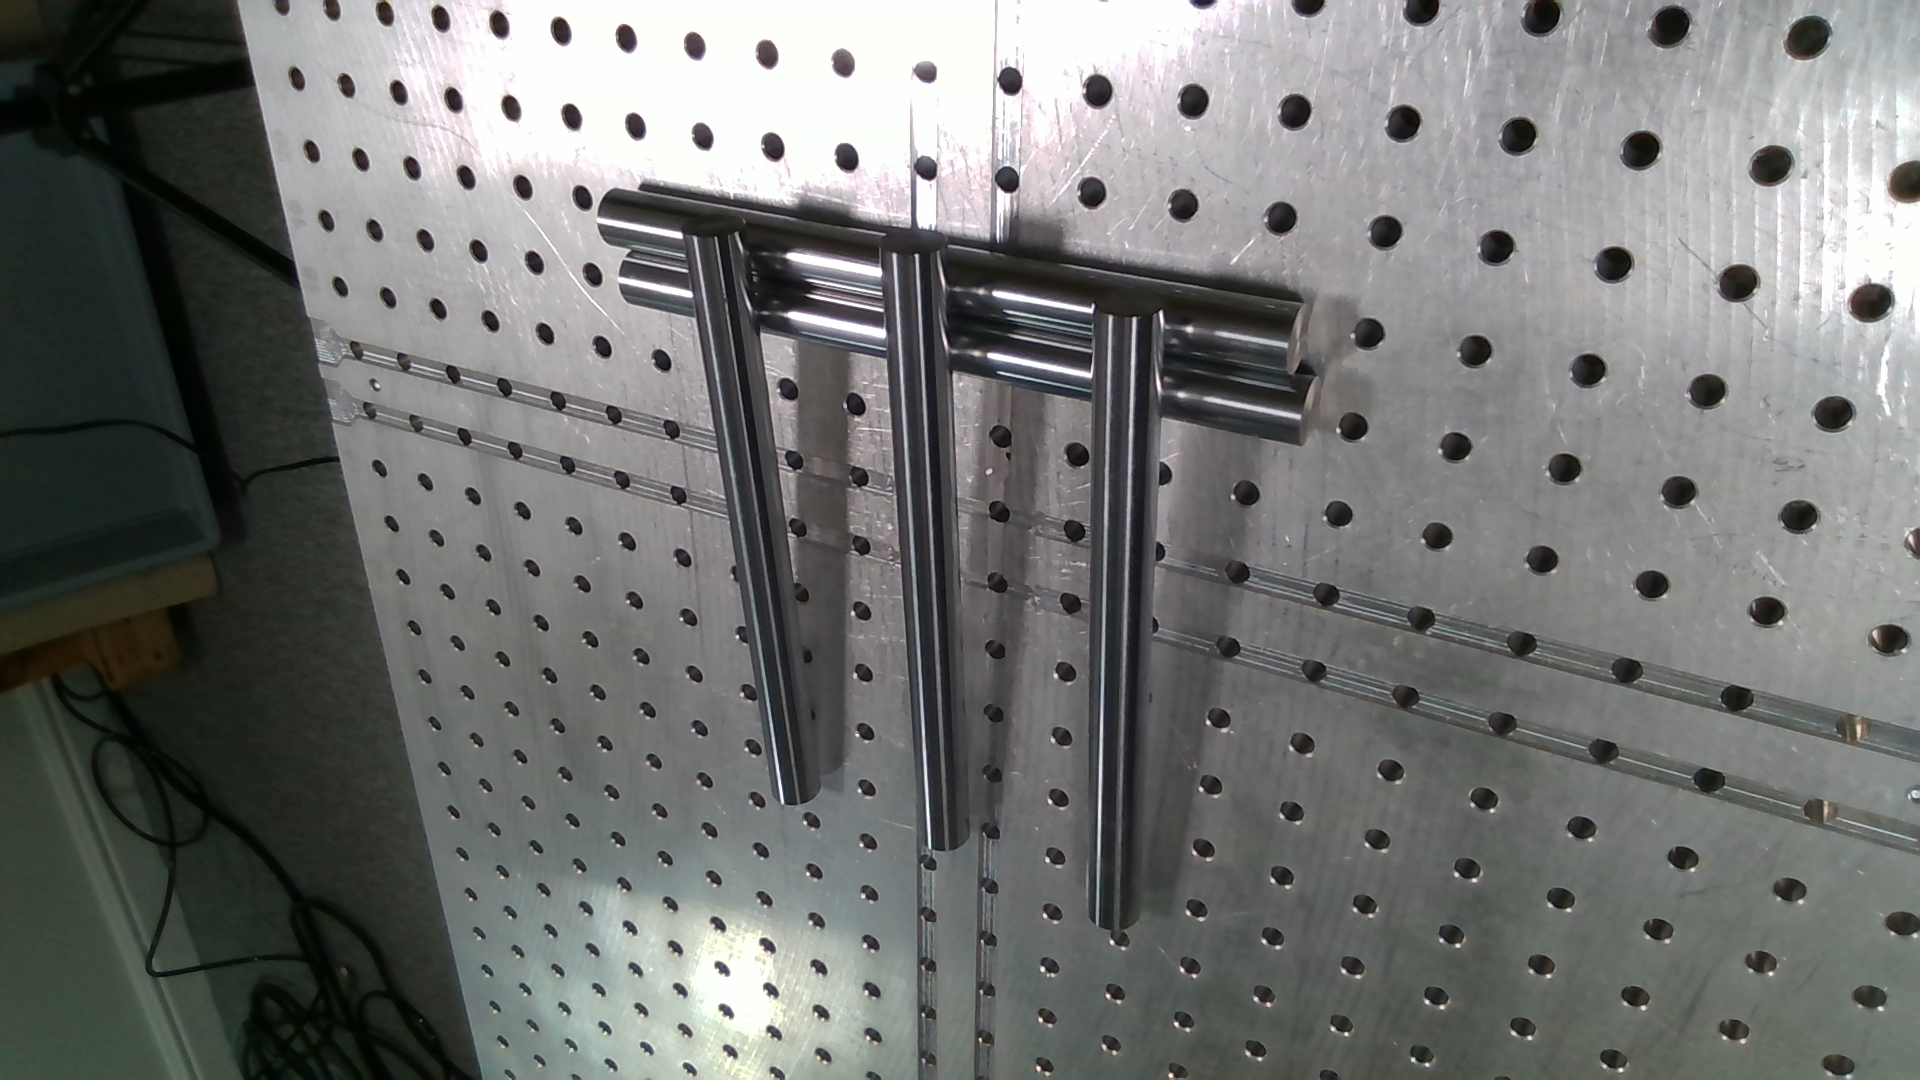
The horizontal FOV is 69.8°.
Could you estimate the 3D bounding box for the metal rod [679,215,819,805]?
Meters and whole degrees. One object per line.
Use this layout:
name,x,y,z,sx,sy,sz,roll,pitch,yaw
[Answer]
metal rod,-0.090,0.002,0.621,0.025,0.025,0.301,15,128,24

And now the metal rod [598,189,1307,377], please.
metal rod,-0.016,-0.104,0.535,0.300,0.025,0.025,15,122,24

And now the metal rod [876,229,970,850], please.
metal rod,-0.012,0.017,0.580,0.025,0.025,0.301,15,128,24

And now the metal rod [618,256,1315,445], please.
metal rod,-0.010,-0.080,0.544,0.300,0.025,0.025,15,122,24

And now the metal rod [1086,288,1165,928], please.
metal rod,0.064,0.044,0.550,0.025,0.025,0.301,15,128,24
